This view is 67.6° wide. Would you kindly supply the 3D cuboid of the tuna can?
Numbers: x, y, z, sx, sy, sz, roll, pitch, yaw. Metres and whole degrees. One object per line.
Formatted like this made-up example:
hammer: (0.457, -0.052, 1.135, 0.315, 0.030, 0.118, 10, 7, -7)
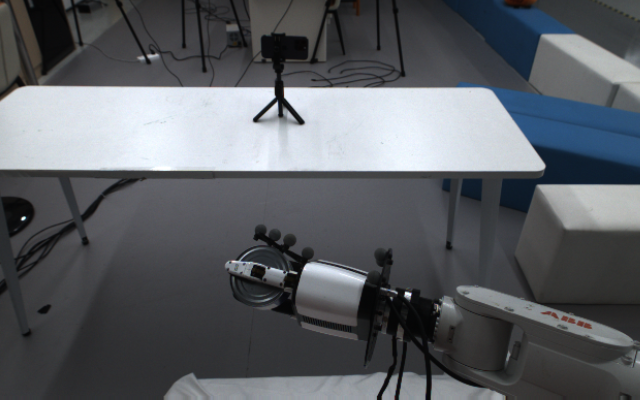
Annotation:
tuna can: (-0.077, 0.107, 0.670, 0.085, 0.034, 0.085, -4, 67, 10)
